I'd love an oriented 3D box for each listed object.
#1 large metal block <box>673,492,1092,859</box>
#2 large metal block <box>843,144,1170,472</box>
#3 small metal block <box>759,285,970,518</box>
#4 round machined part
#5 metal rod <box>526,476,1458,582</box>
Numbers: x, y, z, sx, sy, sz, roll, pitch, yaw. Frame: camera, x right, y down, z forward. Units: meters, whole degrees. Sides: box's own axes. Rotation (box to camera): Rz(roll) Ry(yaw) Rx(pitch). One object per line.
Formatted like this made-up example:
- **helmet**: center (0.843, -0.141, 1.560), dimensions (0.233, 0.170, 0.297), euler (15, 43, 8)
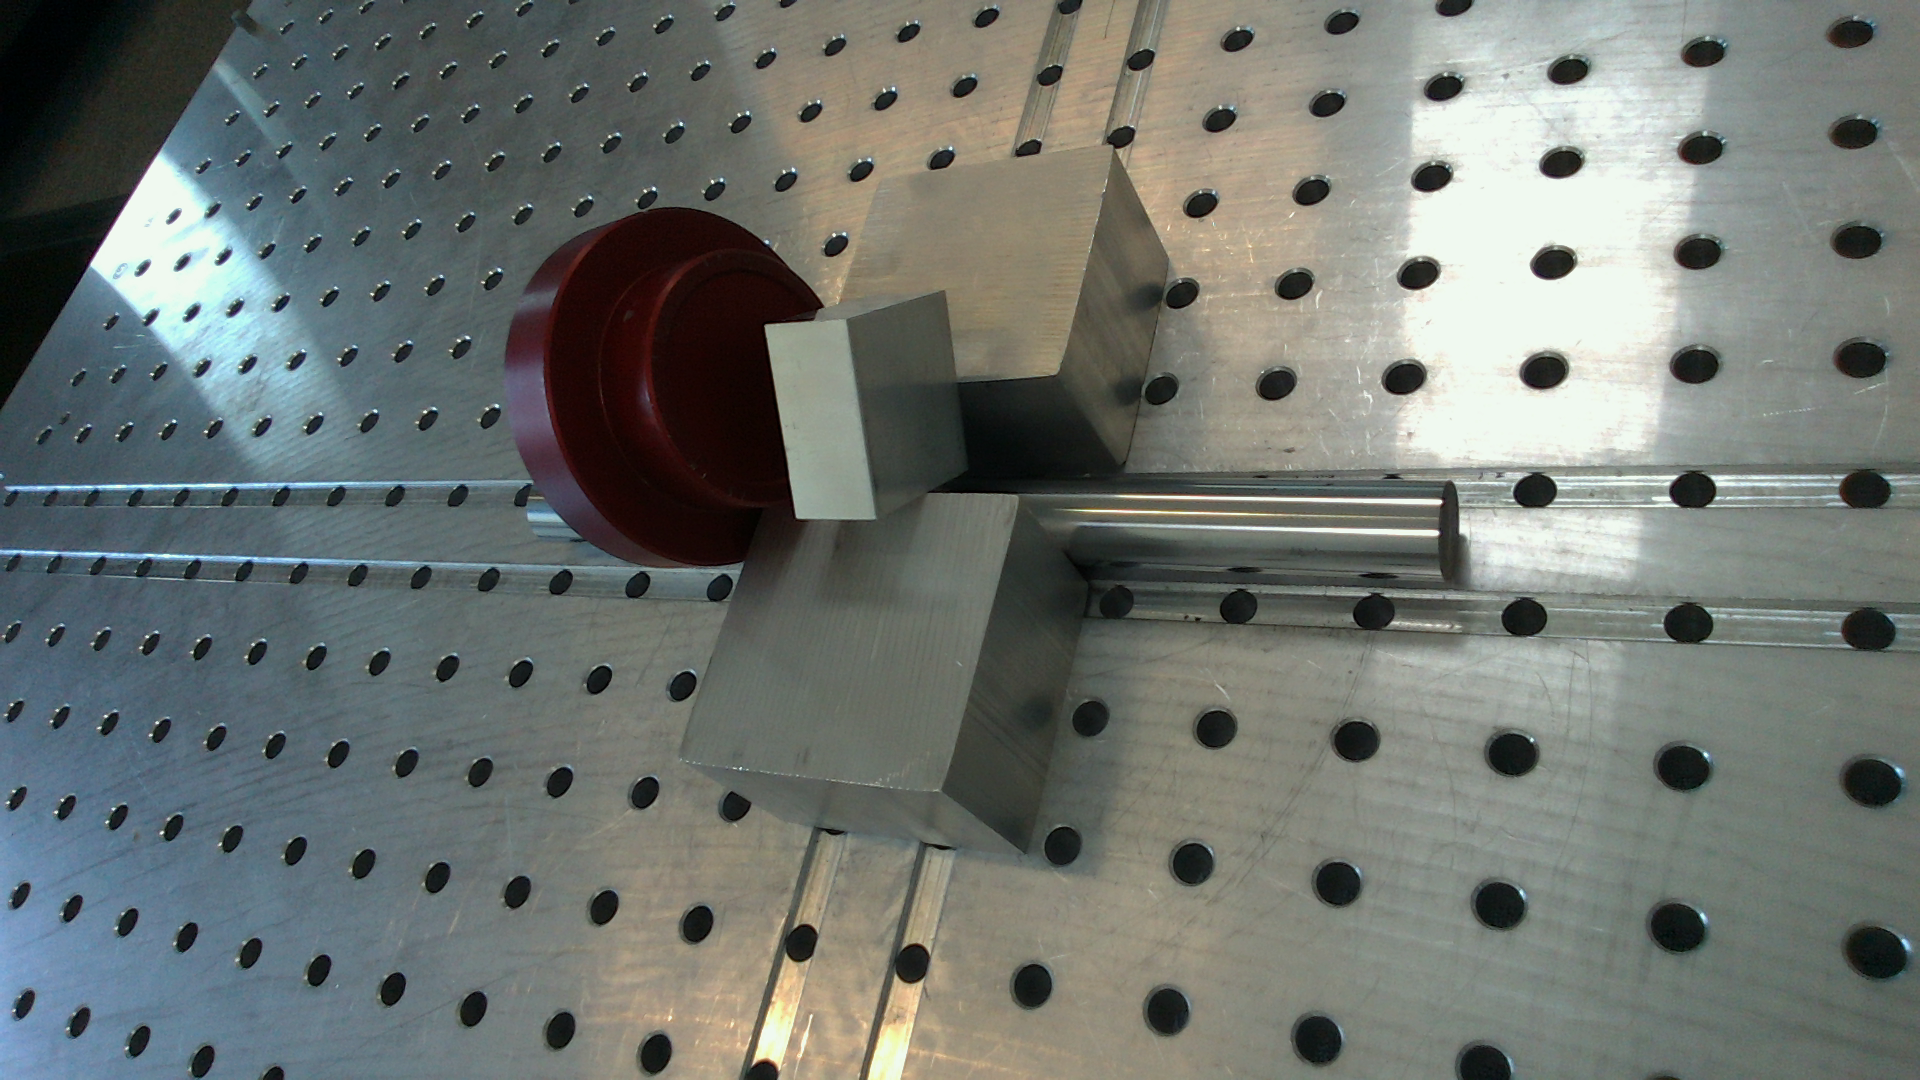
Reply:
- **large metal block**: center (-0.018, 0.034, 0.370), dimensions (0.080, 0.050, 0.080), euler (1, 62, 29)
- **large metal block**: center (0.011, -0.067, 0.416), dimensions (0.080, 0.050, 0.080), euler (1, 62, 29)
- **small metal block**: center (-0.023, -0.037, 0.359), dimensions (0.025, 0.050, 0.050), euler (1, 18, 29)
- **round machined part**: center (-0.069, -0.042, 0.376), dimensions (0.042, 0.098, 0.098), euler (-4, 58, 43)
- **metal rod**: center (-0.012, -0.007, 0.407), dimensions (0.299, 0.025, 0.025), euler (2, 63, 29)
